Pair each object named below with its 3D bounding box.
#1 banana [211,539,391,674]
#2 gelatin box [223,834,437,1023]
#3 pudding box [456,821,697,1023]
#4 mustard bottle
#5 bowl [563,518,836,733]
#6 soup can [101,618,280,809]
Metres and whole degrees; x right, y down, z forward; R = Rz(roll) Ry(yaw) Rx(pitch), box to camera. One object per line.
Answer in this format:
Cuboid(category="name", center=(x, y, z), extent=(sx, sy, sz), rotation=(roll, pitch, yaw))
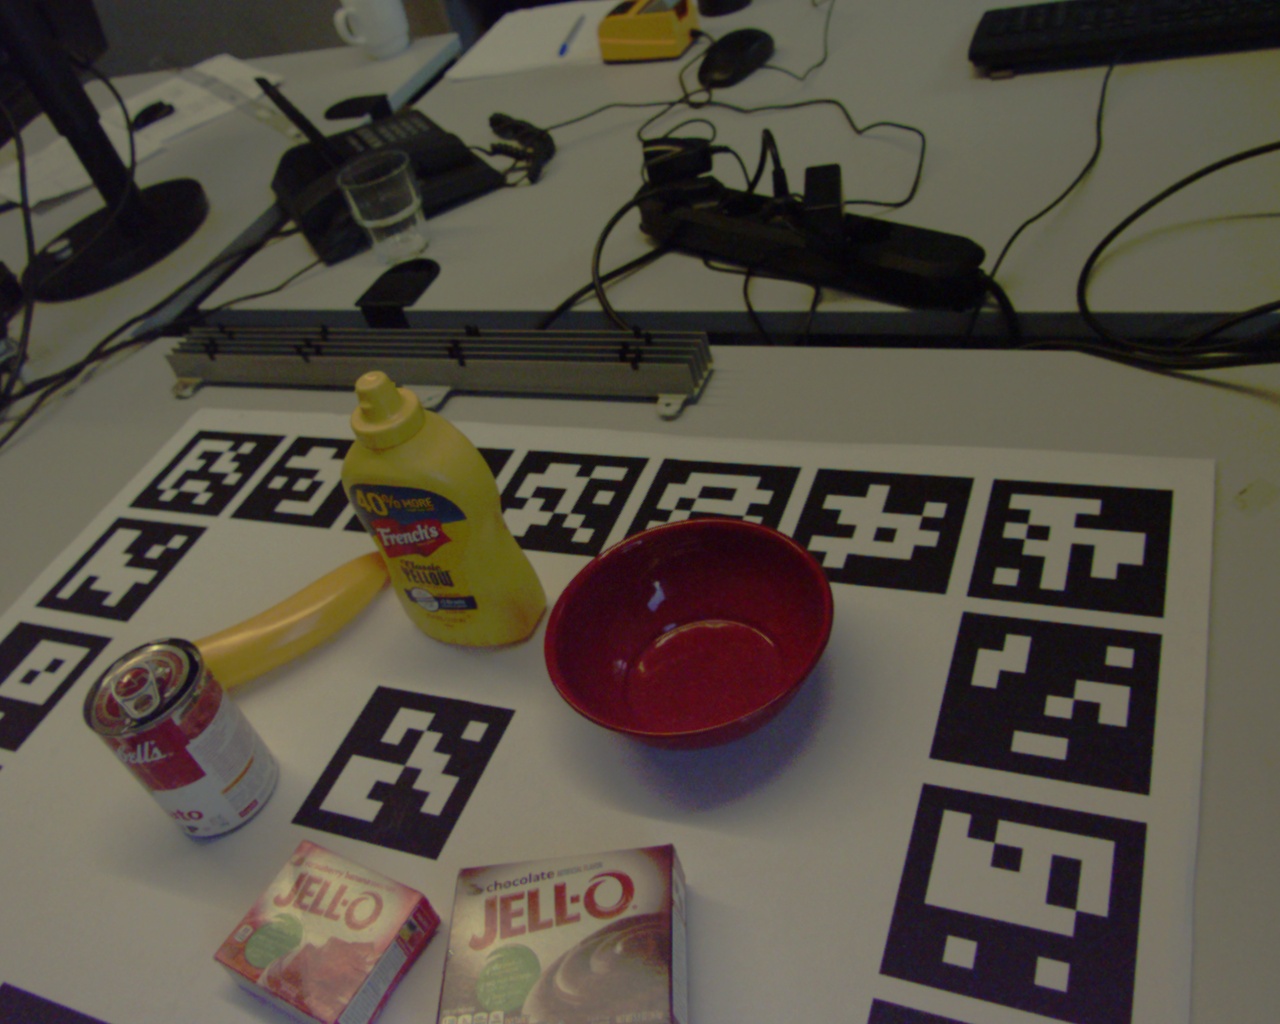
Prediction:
Cuboid(category="banana", center=(-0.257, 0.073, 0.803), extent=(0.196, 0.038, 0.075), rotation=(-27, 31, -11))
Cuboid(category="gelatin box", center=(-0.165, 0.220, 0.606), extent=(0.090, 0.030, 0.073), rotation=(10, 51, 31))
Cuboid(category="pudding box", center=(-0.032, 0.208, 0.562), extent=(0.114, 0.038, 0.090), rotation=(-12, 46, 8))
Cuboid(category="mustard bottle", center=(-0.129, -0.008, 0.710), extent=(0.097, 0.190, 0.058), rotation=(5, 42, 25))
Cuboid(category="bowl", center=(0.039, 0.076, 0.677), extent=(0.162, 0.055, 0.162), rotation=(-12, 39, 9))
Cuboid(category="soup can", center=(-0.268, 0.123, 0.688), extent=(0.068, 0.101, 0.068), rotation=(-9, 40, 7))
